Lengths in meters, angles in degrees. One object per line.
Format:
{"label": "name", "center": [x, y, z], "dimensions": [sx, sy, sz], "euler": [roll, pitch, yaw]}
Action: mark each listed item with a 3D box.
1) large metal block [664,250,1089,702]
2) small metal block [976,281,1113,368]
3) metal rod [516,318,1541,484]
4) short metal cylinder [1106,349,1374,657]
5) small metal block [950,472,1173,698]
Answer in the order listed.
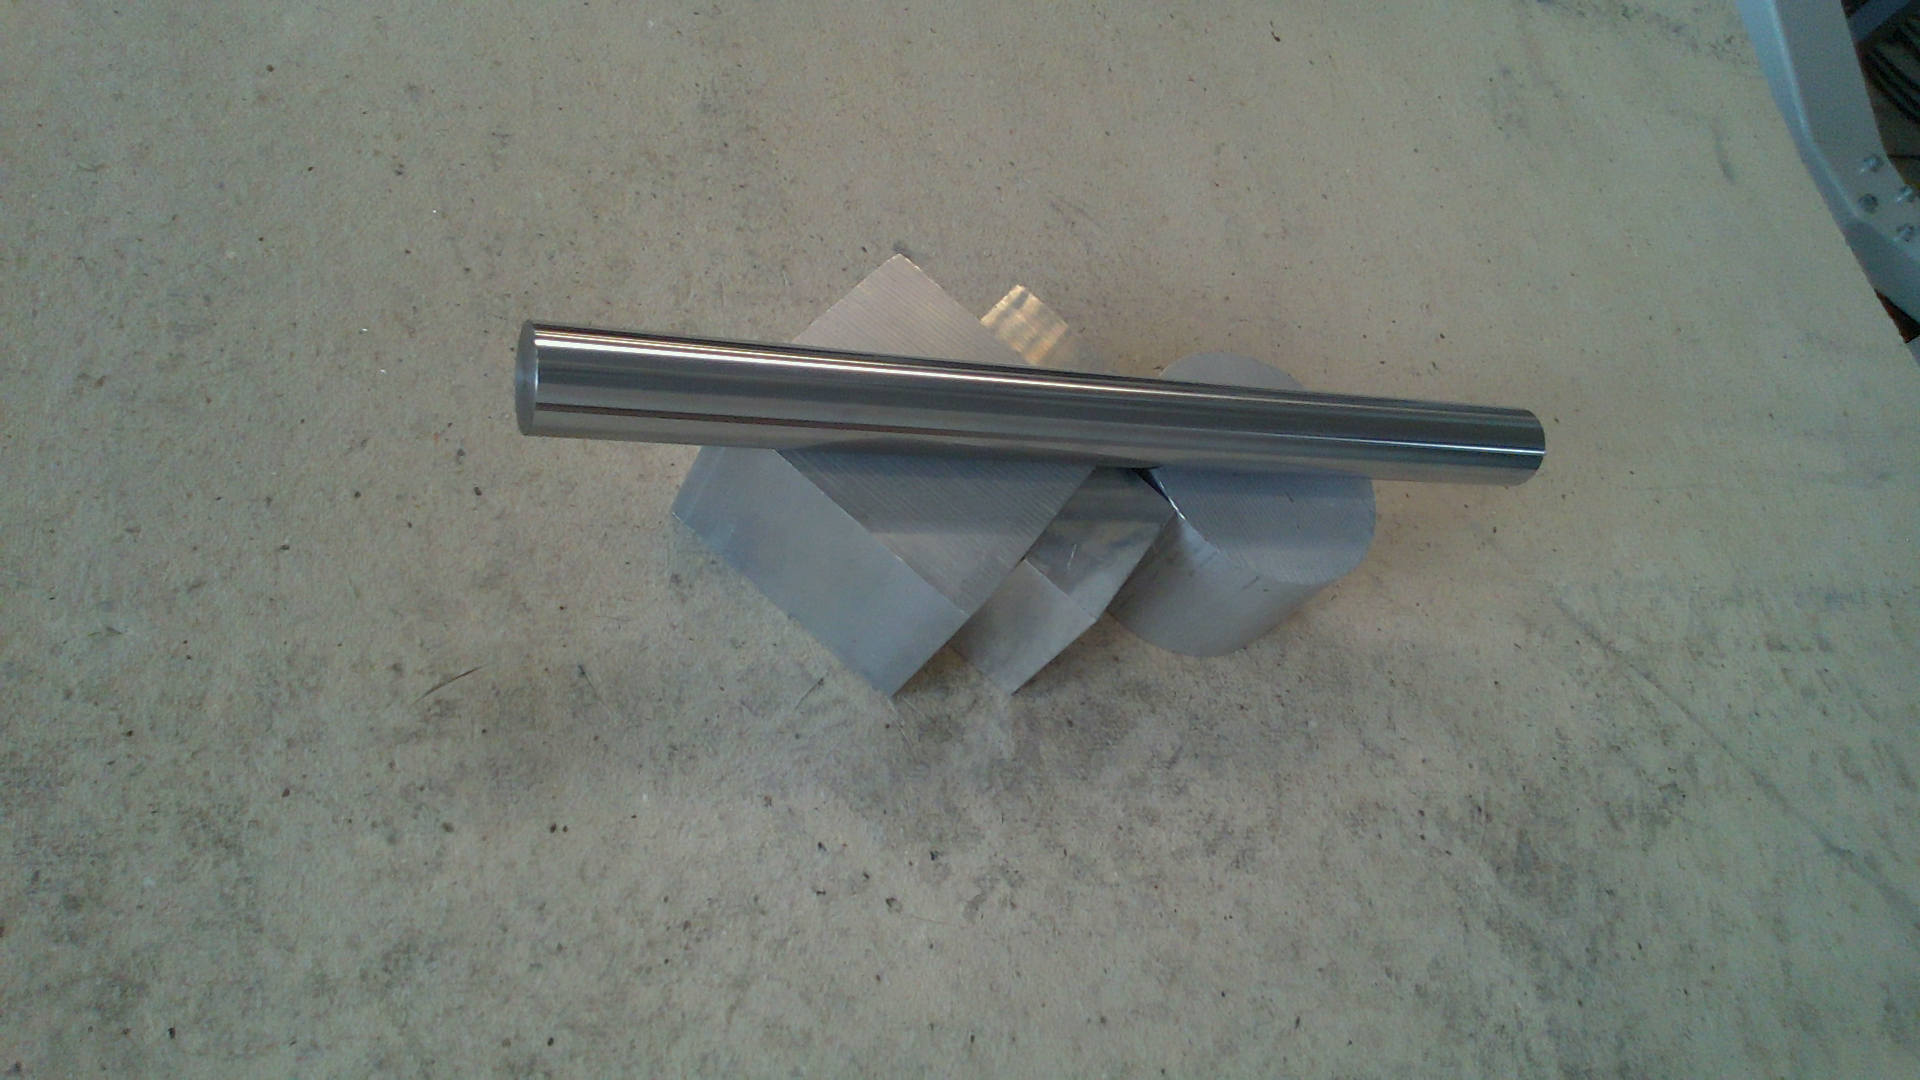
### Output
{"label": "large metal block", "center": [-0.018, -0.018, 0.373], "dimensions": [0.080, 0.050, 0.080], "euler": [41, 51, 0]}
{"label": "small metal block", "center": [0.018, -0.039, 0.408], "dimensions": [0.050, 0.050, 0.025], "euler": [41, 51, -1]}
{"label": "metal rod", "center": [0.040, -0.032, 0.364], "dimensions": [0.301, 0.025, 0.025], "euler": [1, 61, -28]}
{"label": "short metal cylinder", "center": [0.078, -0.011, 0.422], "dimensions": [0.080, 0.050, 0.080], "euler": [14, 56, -21]}
{"label": "small metal block", "center": [0.026, 0.010, 0.383], "dimensions": [0.025, 0.050, 0.050], "euler": [41, 51, -1]}
